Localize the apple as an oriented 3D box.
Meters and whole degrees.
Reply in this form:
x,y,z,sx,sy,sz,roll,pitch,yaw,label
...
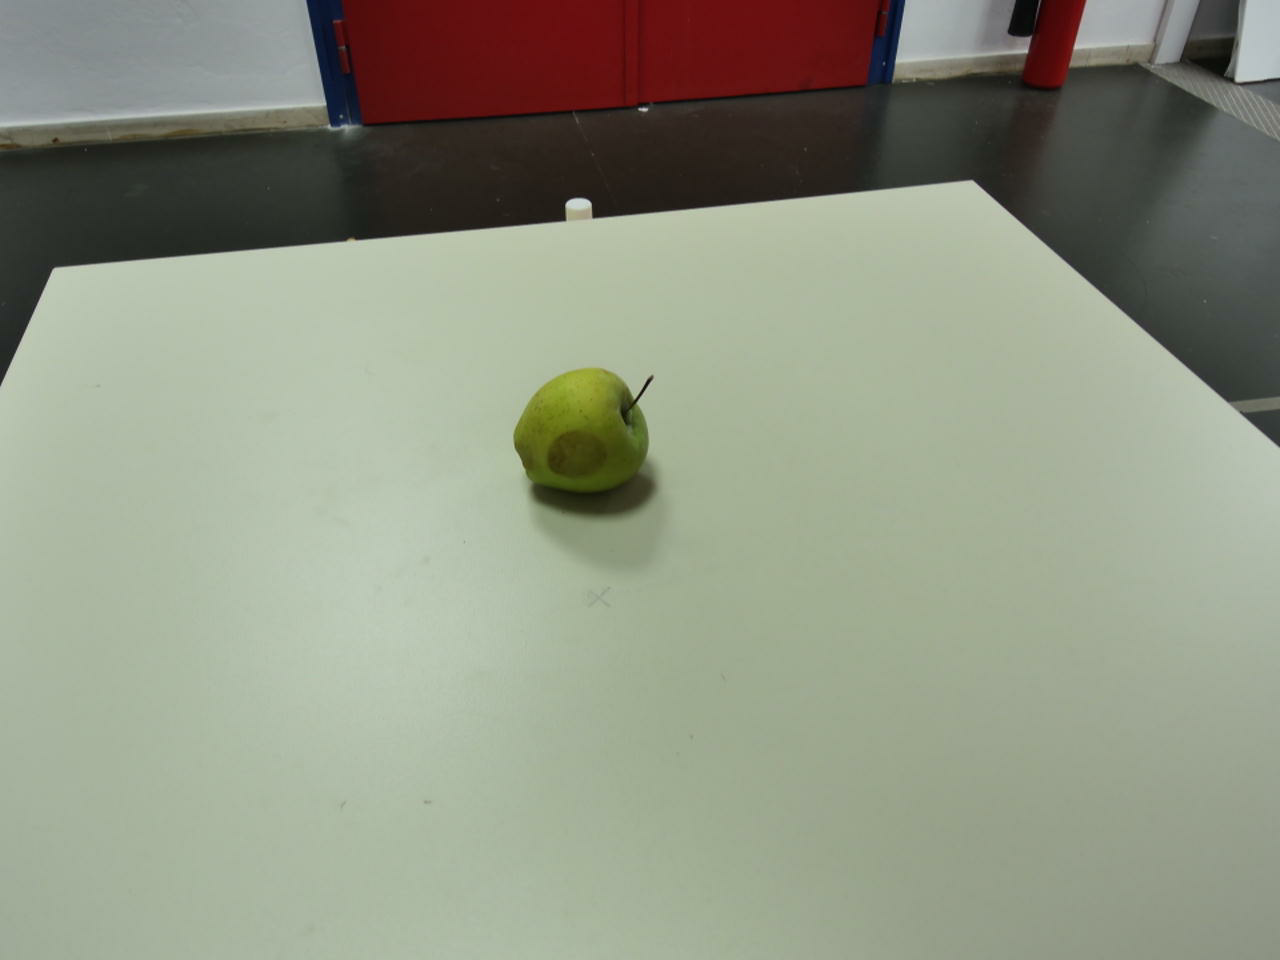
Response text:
x,y,z,sx,sy,sz,roll,pitch,yaw,label
-0.033,-0.030,0.590,0.077,0.075,0.072,22,43,24,apple
